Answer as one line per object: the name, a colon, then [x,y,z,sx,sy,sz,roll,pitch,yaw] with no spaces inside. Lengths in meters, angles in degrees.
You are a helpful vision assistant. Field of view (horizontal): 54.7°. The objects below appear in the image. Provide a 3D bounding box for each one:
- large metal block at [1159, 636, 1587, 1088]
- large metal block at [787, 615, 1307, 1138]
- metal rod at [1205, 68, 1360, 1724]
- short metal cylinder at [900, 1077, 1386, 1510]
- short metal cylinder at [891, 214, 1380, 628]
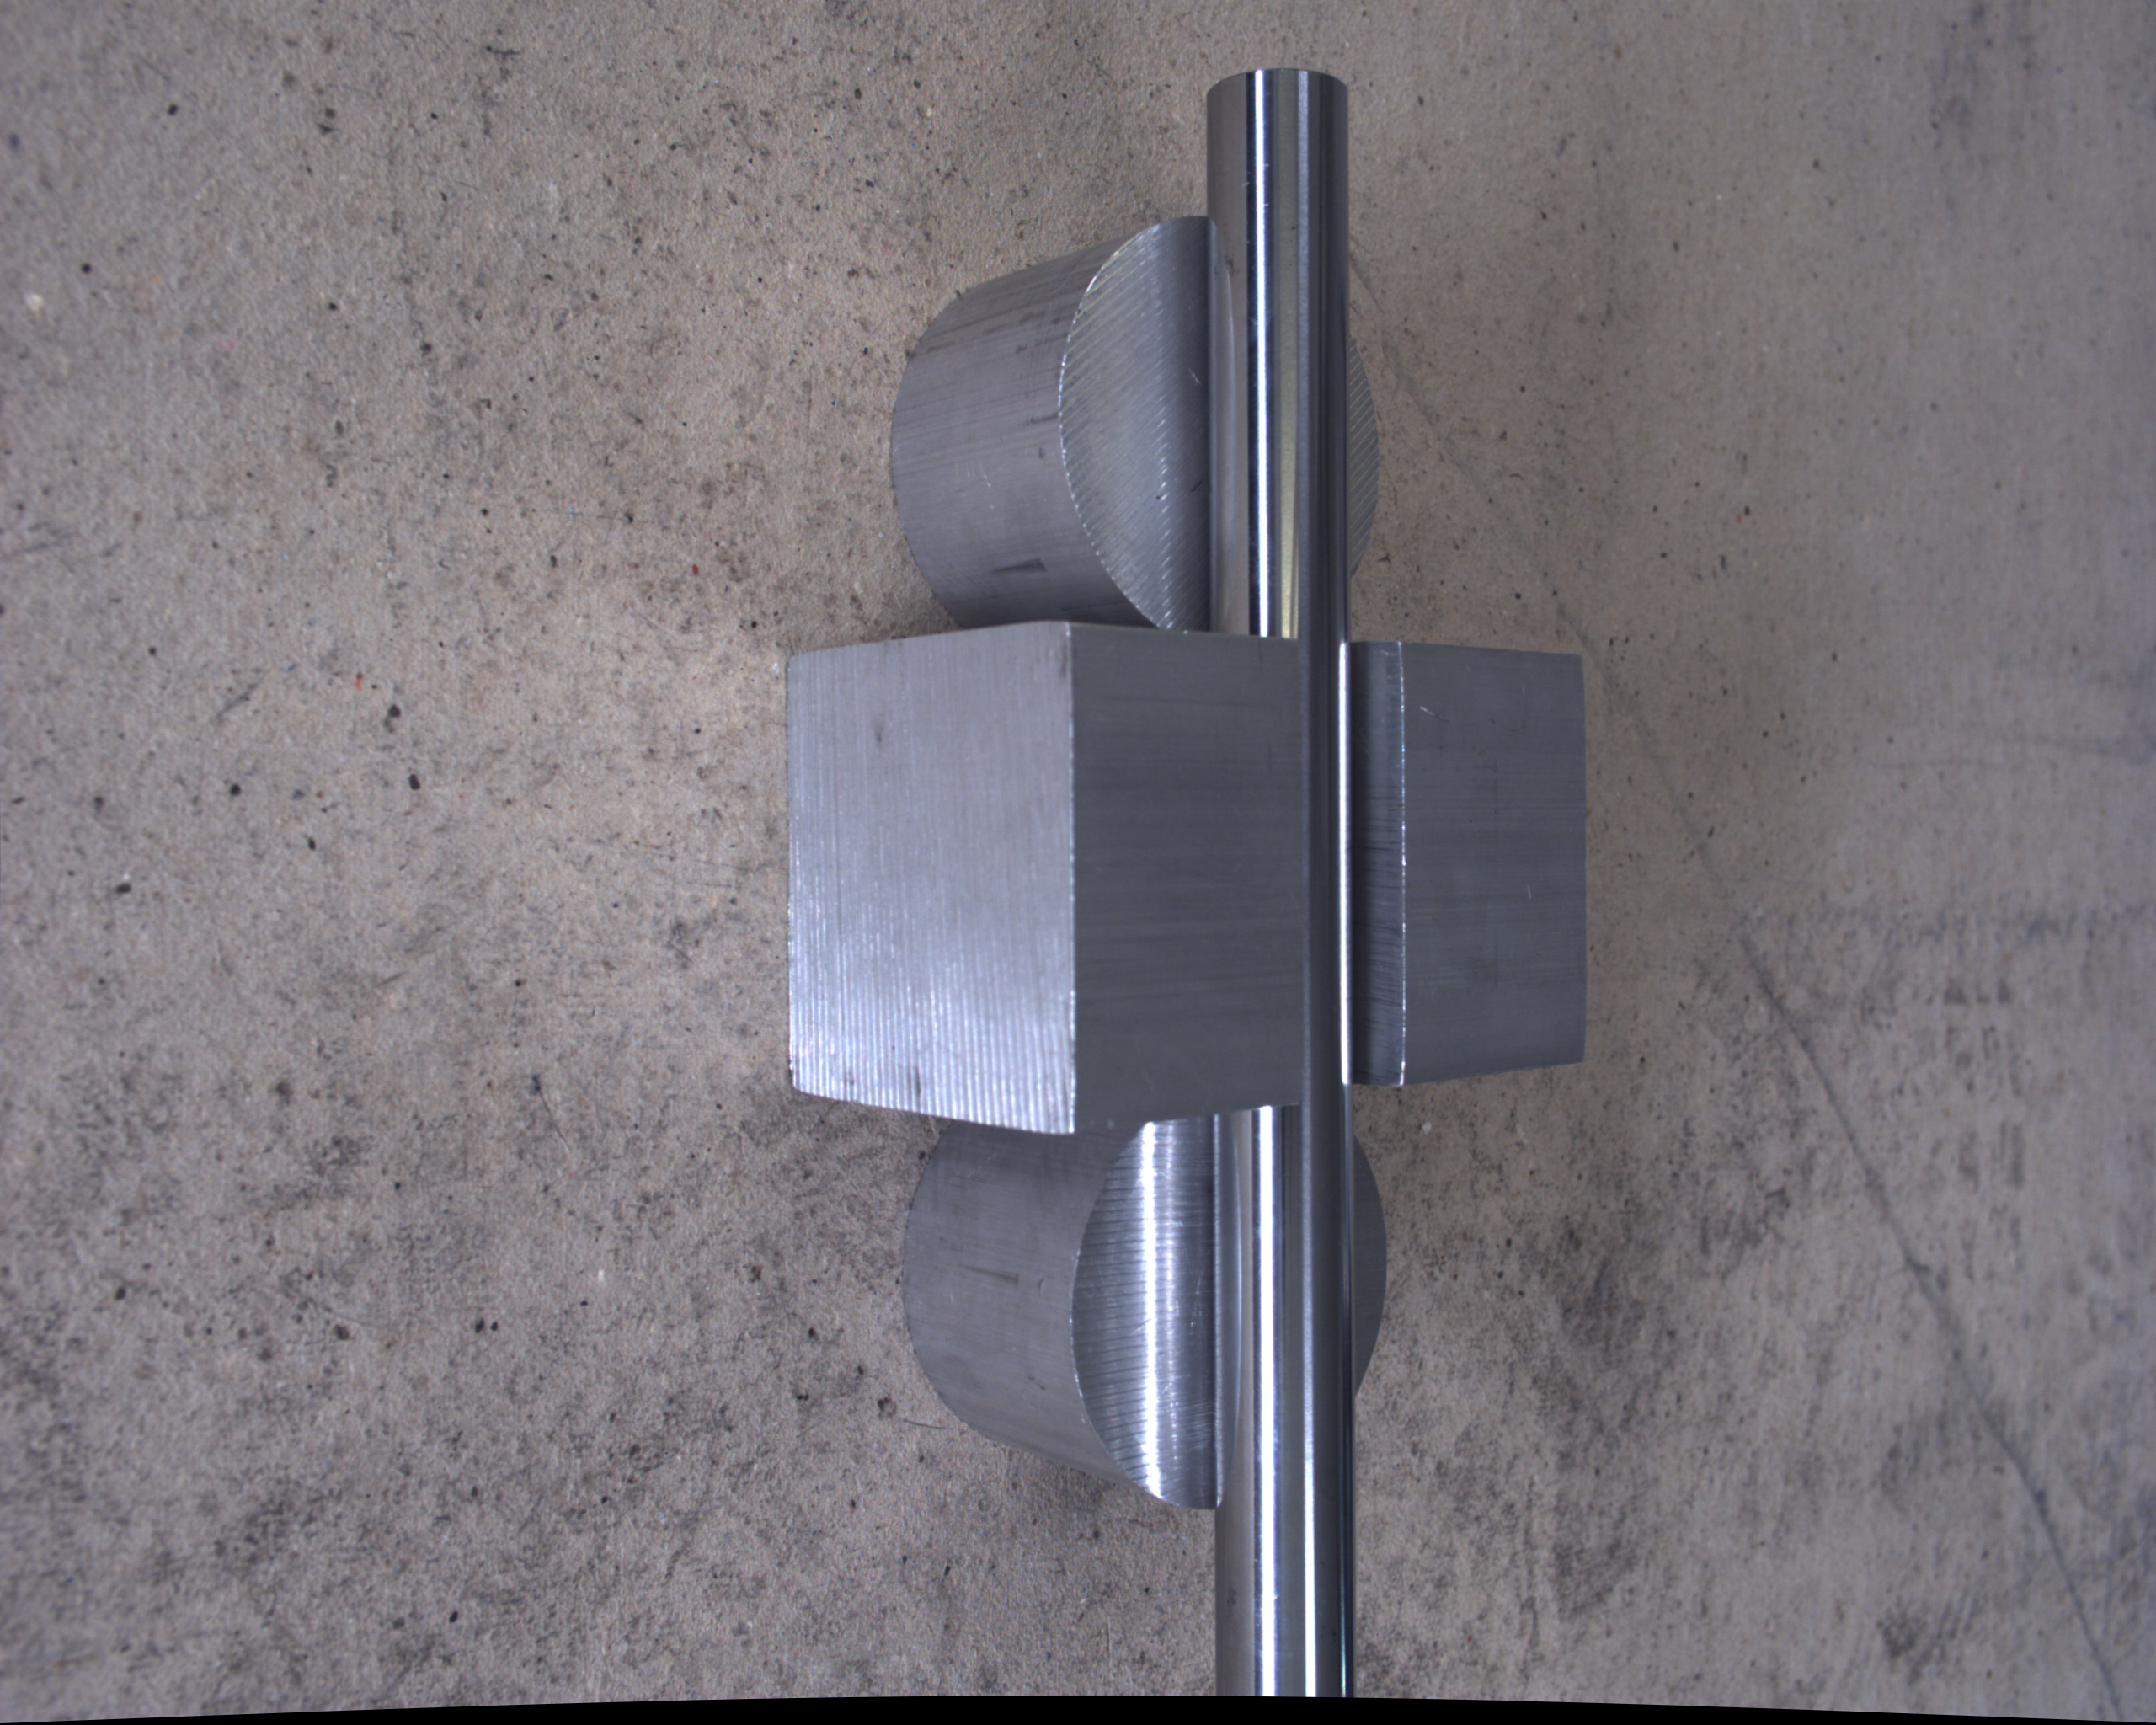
large metal block: [0.052,-0.001,0.413,0.050,0.080,0.080,-1,91,-40]
large metal block: [-0.007,0.002,0.364,0.050,0.080,0.080,-1,91,-40]
metal rod: [0.036,0.013,0.371,0.025,0.025,0.298,-1,90,-40]
short metal cylinder: [0.013,0.078,0.402,0.081,0.050,0.080,0,89,-40]
short metal cylinder: [0.012,-0.078,0.399,0.081,0.050,0.080,0,89,-40]
